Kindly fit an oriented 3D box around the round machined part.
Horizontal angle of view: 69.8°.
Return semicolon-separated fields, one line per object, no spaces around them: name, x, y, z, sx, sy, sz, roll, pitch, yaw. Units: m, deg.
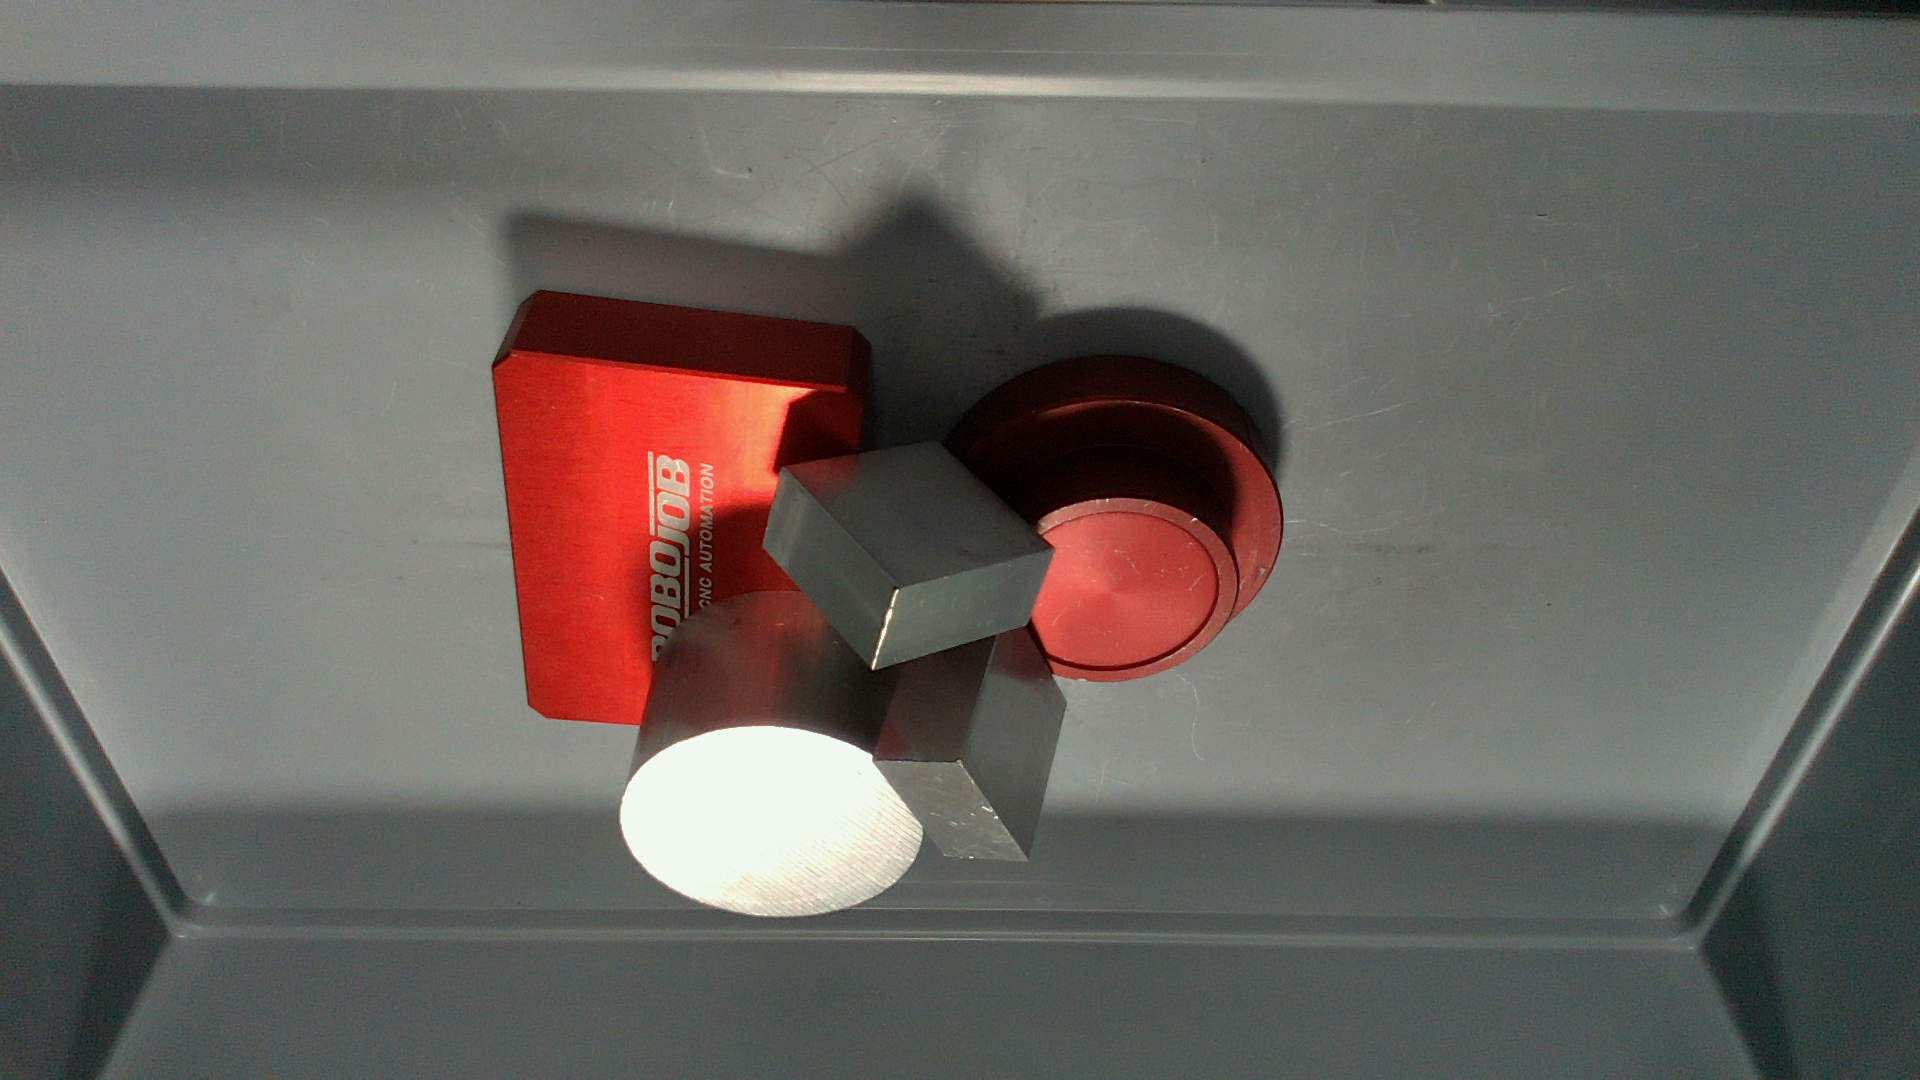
round machined part;0.040;0.001;0.379;0.098;0.042;0.098;0;130;0

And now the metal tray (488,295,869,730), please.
metal tray;-0.076;0.000;0.383;0.090;0.030;0.130;6;130;-5

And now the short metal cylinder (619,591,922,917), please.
short metal cylinder;-0.050;0.061;0.384;0.080;0.050;0.080;0;130;0

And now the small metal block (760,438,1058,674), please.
small metal block;-0.013;0.002;0.341;0.050;0.050;0.025;-13;135;-39

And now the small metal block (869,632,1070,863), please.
small metal block;0.005;0.050;0.364;0.025;0.050;0.050;-2;139;27
